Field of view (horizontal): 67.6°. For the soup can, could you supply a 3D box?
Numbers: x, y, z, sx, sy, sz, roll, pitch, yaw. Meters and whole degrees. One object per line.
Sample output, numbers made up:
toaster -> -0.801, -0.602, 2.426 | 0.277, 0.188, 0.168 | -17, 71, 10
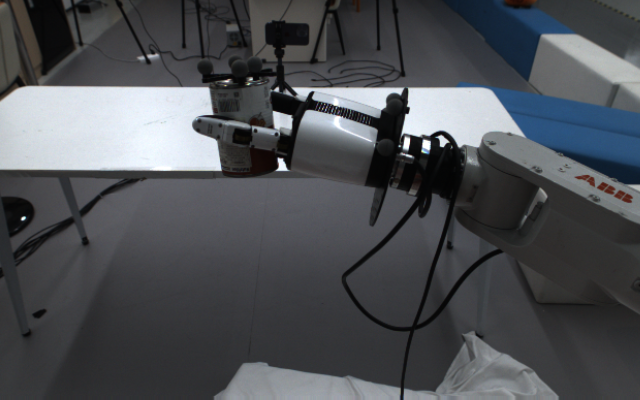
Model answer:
soup can -> -0.083, -0.083, 0.547 | 0.067, 0.101, 0.067 | -4, 21, 2
